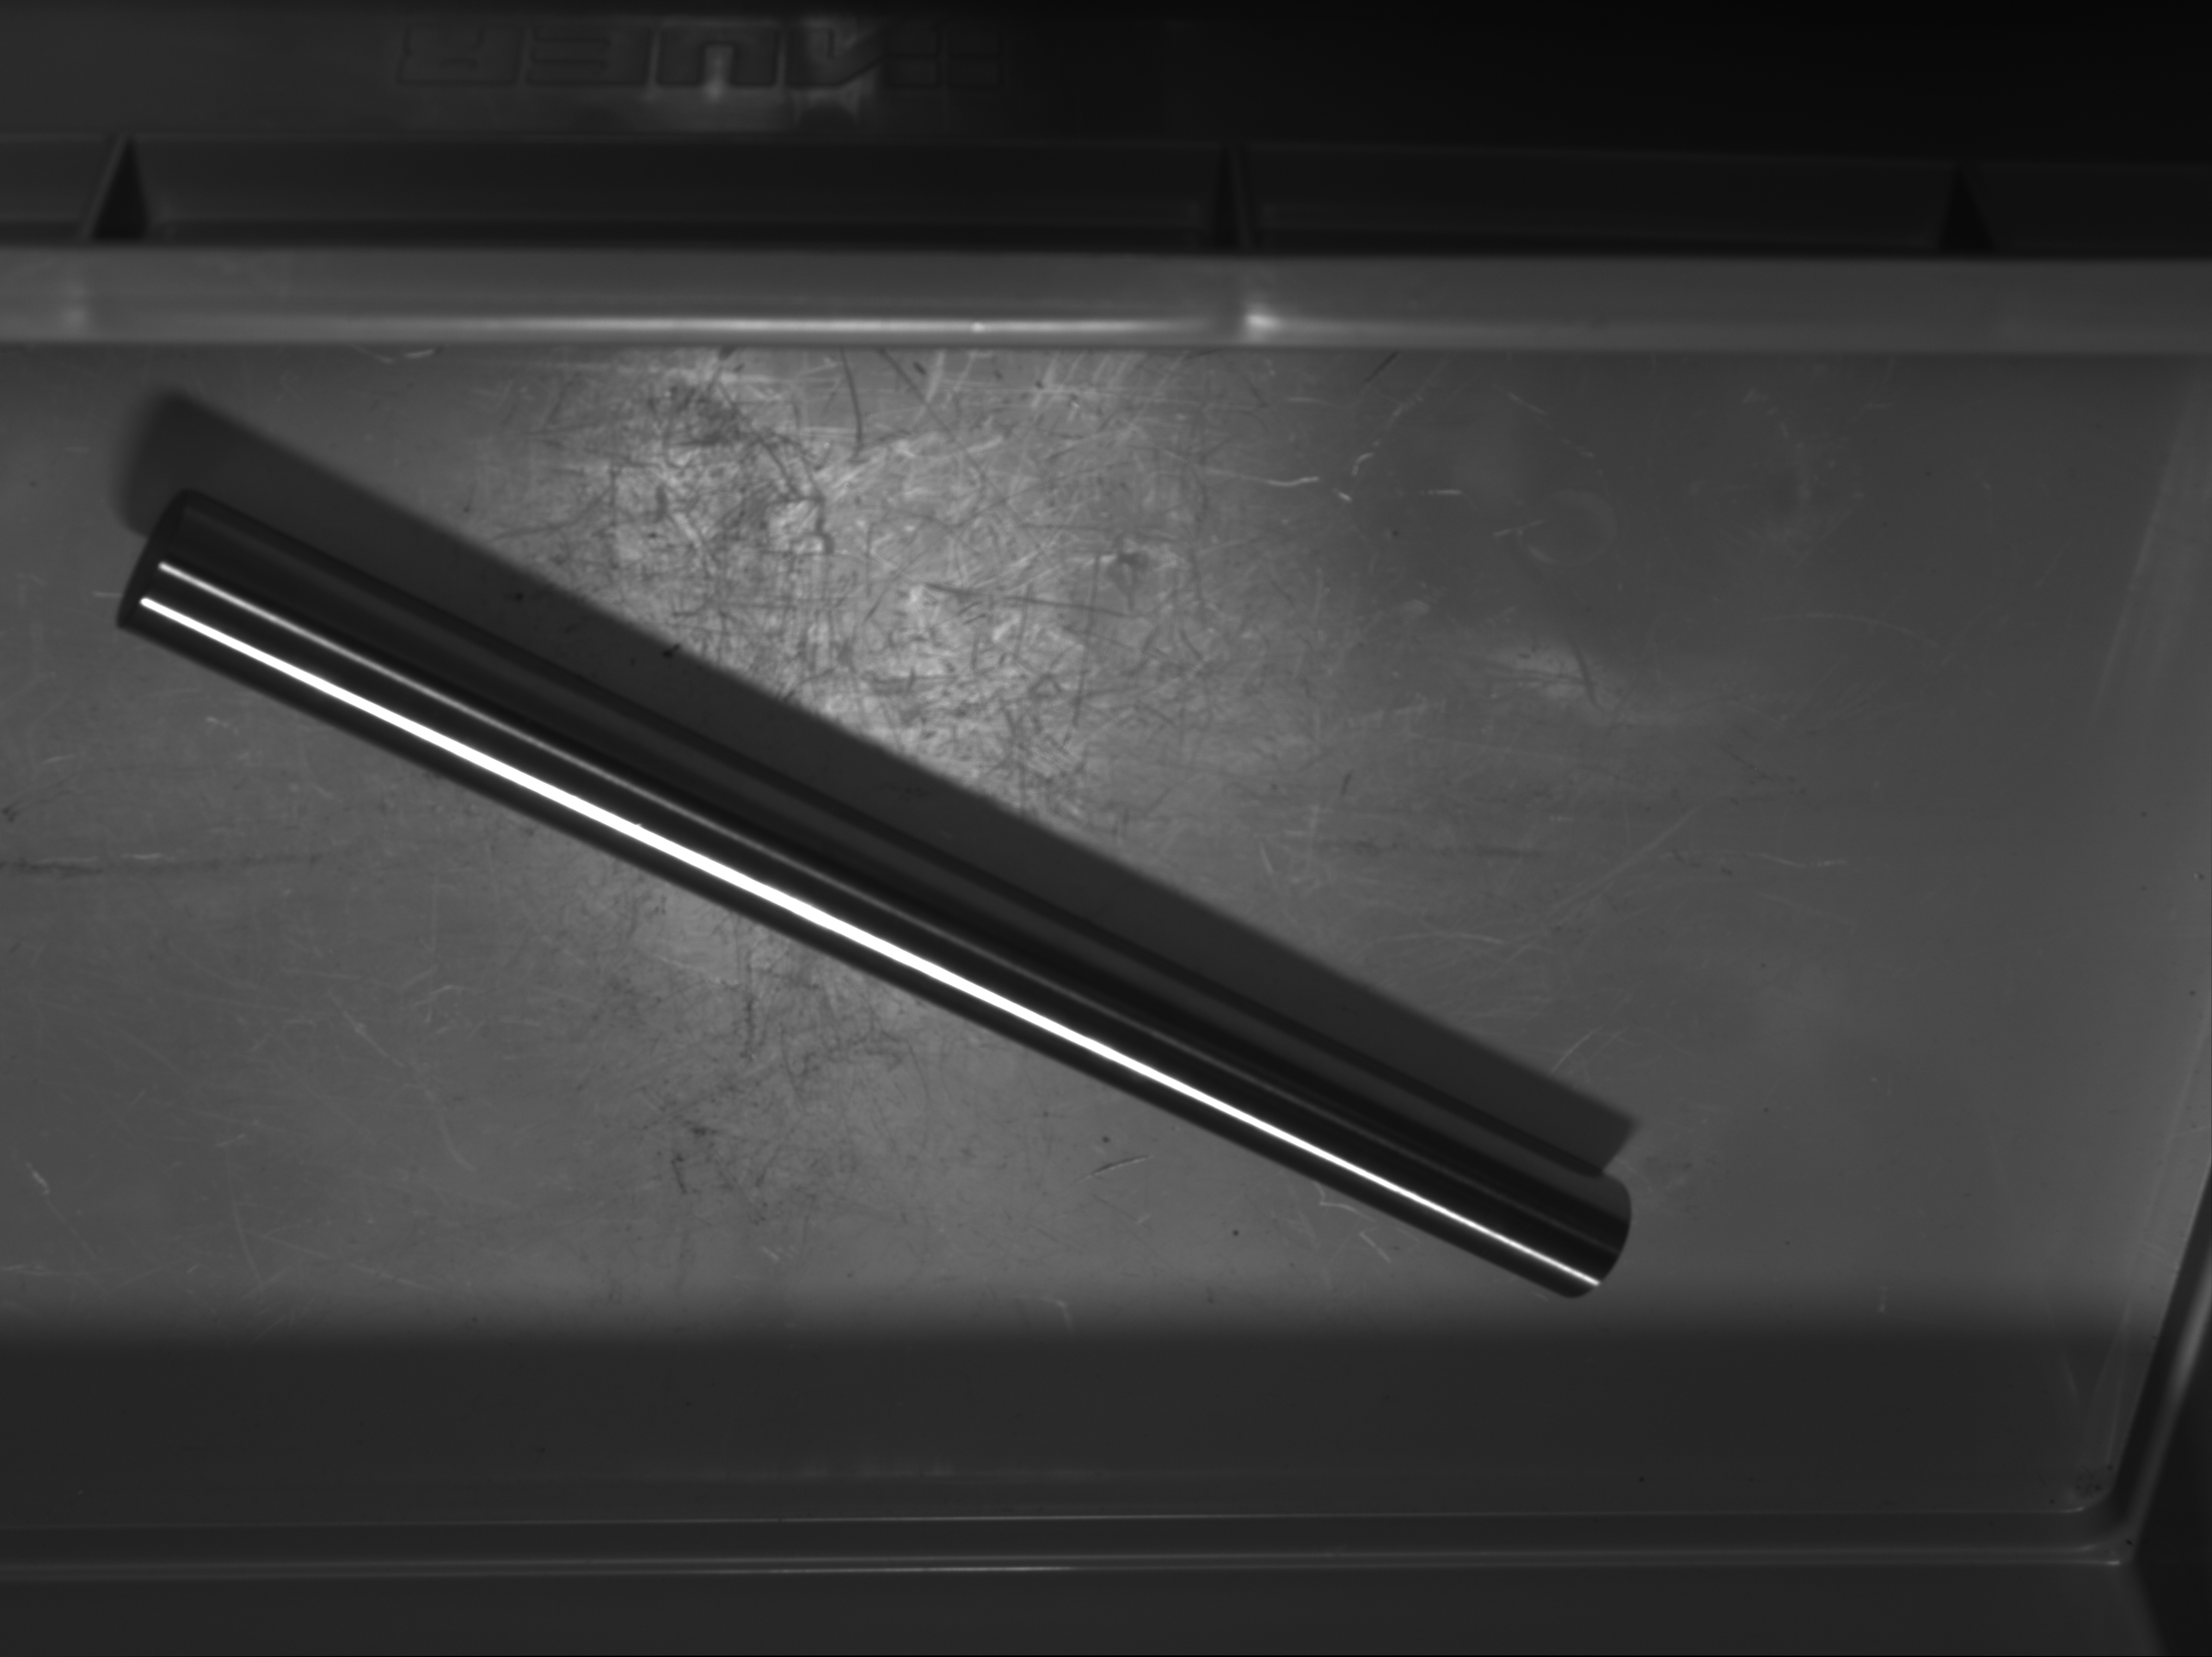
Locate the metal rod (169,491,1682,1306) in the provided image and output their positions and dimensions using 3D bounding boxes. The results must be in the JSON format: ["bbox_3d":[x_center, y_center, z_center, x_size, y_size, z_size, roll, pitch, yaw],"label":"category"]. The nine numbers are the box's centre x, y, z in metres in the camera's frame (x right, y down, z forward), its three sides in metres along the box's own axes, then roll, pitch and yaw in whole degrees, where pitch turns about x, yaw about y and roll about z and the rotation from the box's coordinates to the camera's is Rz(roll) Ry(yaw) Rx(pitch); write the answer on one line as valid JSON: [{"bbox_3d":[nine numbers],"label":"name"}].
[{"bbox_3d":[-0.022,0.018,0.651,0.301,0.025,0.025,26,124,-22],"label":"metal rod"}]
